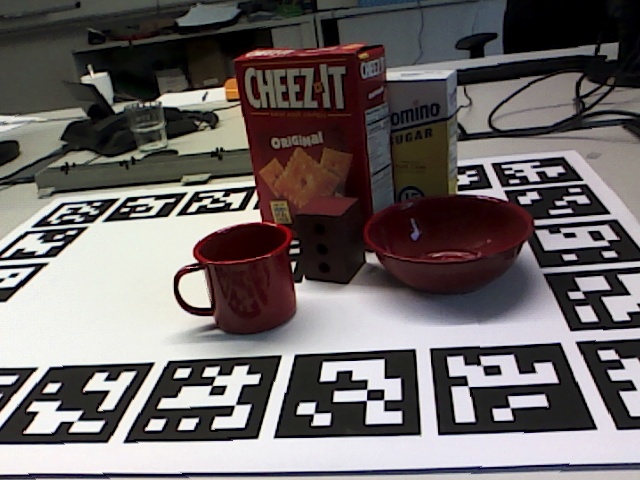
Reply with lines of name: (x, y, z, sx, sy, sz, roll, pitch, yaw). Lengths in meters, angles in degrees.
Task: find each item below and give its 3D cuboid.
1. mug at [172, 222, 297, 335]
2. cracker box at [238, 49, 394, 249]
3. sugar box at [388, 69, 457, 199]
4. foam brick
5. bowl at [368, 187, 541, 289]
mug: (-0.079, 0.038, 0.576, 0.117, 0.081, 0.093, -10, 16, 1)
cracker box: (-0.003, -0.105, 0.716, 0.165, 0.213, 0.071, 11, 28, 34)
sugar box: (0.110, -0.104, 0.719, 0.093, 0.176, 0.045, 5, 27, 28)
foam brick: (0.012, 0.001, 0.652, 0.053, 0.078, 0.051, 2, 25, 23)
bowl: (0.130, 0.002, 0.604, 0.162, 0.055, 0.162, -7, 25, 3)
